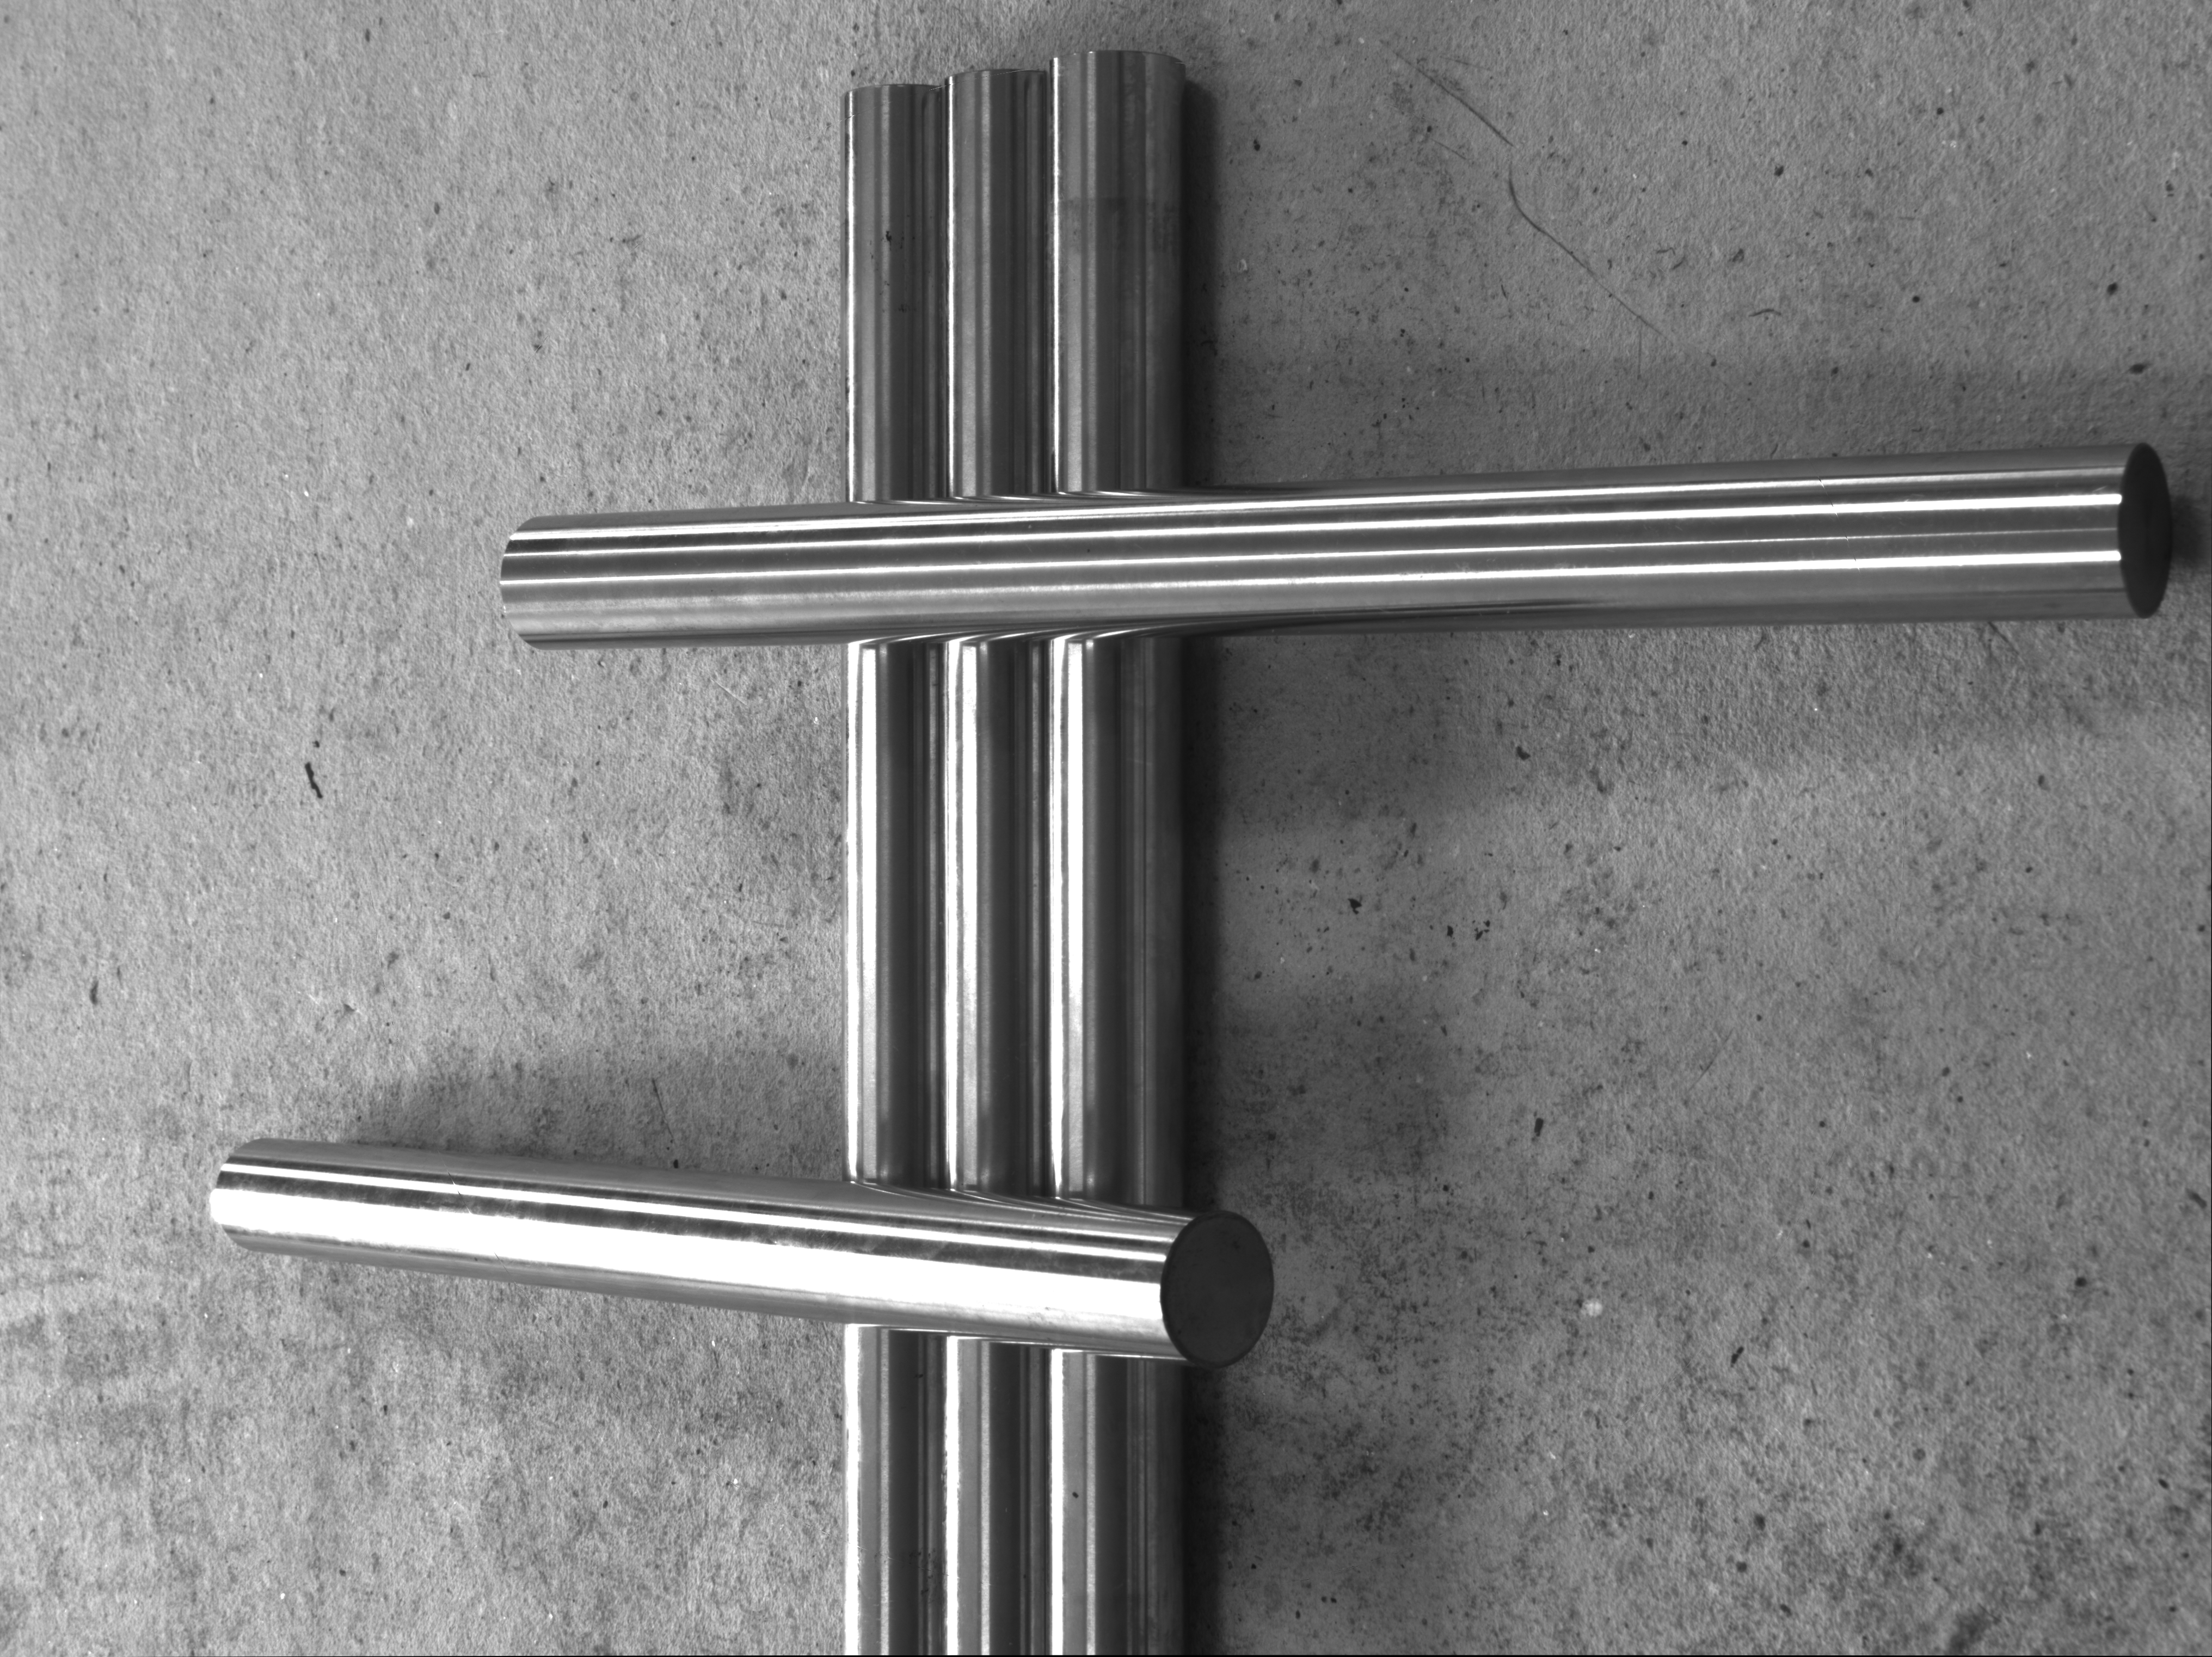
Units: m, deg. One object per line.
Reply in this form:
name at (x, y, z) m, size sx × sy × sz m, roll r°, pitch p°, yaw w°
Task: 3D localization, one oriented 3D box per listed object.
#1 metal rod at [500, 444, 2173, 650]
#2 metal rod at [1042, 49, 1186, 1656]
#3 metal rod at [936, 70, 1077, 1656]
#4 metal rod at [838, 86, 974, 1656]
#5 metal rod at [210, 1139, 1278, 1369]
metal rod at (0.022, -0.044, 0.601) m, size 0.299 × 0.025 × 0.025 m, roll 1°, pitch 90°, yaw 32°
metal rod at (0.001, 0.016, 0.643) m, size 0.025 × 0.025 × 0.300 m, roll 0°, pitch 90°, yaw 40°
metal rod at (-0.018, 0.016, 0.659) m, size 0.025 × 0.025 × 0.300 m, roll 0°, pitch 90°, yaw 40°
metal rod at (-0.037, 0.016, 0.675) m, size 0.025 × 0.025 × 0.300 m, roll 0°, pitch 90°, yaw 40°
metal rod at (-0.083, 0.076, 0.689) m, size 0.299 × 0.025 × 0.025 m, roll -2°, pitch 89°, yaw 47°
